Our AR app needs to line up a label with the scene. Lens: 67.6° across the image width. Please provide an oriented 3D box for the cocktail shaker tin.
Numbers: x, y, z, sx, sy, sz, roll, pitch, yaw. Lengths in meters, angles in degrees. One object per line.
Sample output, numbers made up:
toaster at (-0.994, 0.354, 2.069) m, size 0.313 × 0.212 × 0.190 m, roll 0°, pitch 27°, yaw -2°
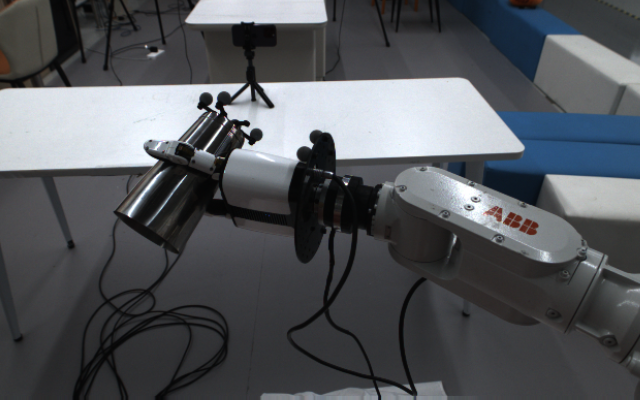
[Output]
cocktail shaker tin at (-0.167, -0.031, 0.612) m, size 0.093 × 0.093 × 0.170 m, roll 20°, pitch 67°, yaw 24°
